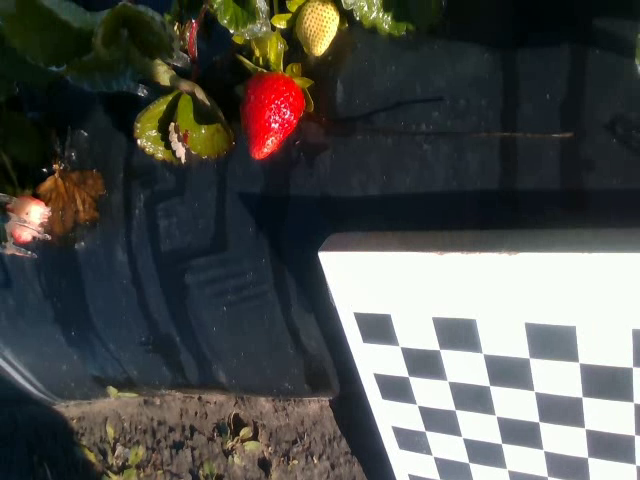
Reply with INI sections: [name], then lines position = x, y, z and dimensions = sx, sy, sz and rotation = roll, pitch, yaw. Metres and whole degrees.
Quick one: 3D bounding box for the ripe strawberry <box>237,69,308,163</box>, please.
[ripe strawberry]
position = -0.022, -0.049, 0.256
dimensions = 0.039, 0.039, 0.040
rotation = -3, -31, 45
